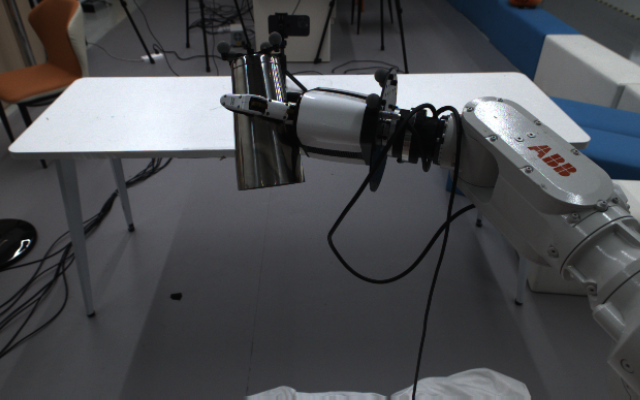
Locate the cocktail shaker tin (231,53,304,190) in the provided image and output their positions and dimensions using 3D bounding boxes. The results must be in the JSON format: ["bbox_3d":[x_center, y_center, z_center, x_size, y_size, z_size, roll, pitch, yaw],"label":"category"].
[{"bbox_3d":[-0.077,-0.103,0.653,0.093,0.170,0.093,-8,1,0],"label":"cocktail shaker tin"}]
